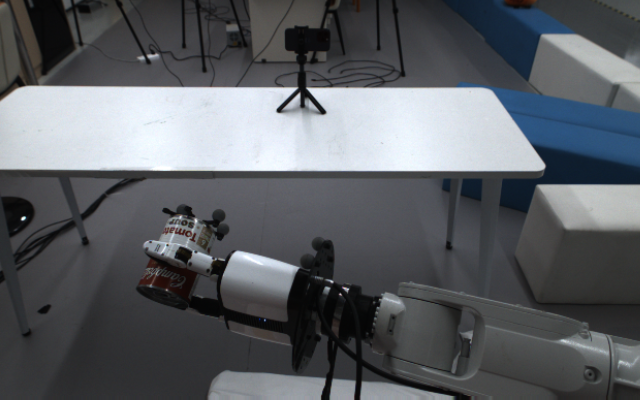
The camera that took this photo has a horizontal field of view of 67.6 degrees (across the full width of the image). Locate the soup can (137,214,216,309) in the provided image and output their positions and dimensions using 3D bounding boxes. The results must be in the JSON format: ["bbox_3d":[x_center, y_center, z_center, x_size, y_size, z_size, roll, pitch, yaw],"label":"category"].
[{"bbox_3d":[-0.181,0.080,0.621,0.067,0.067,0.101,9,60,10],"label":"soup can"}]
